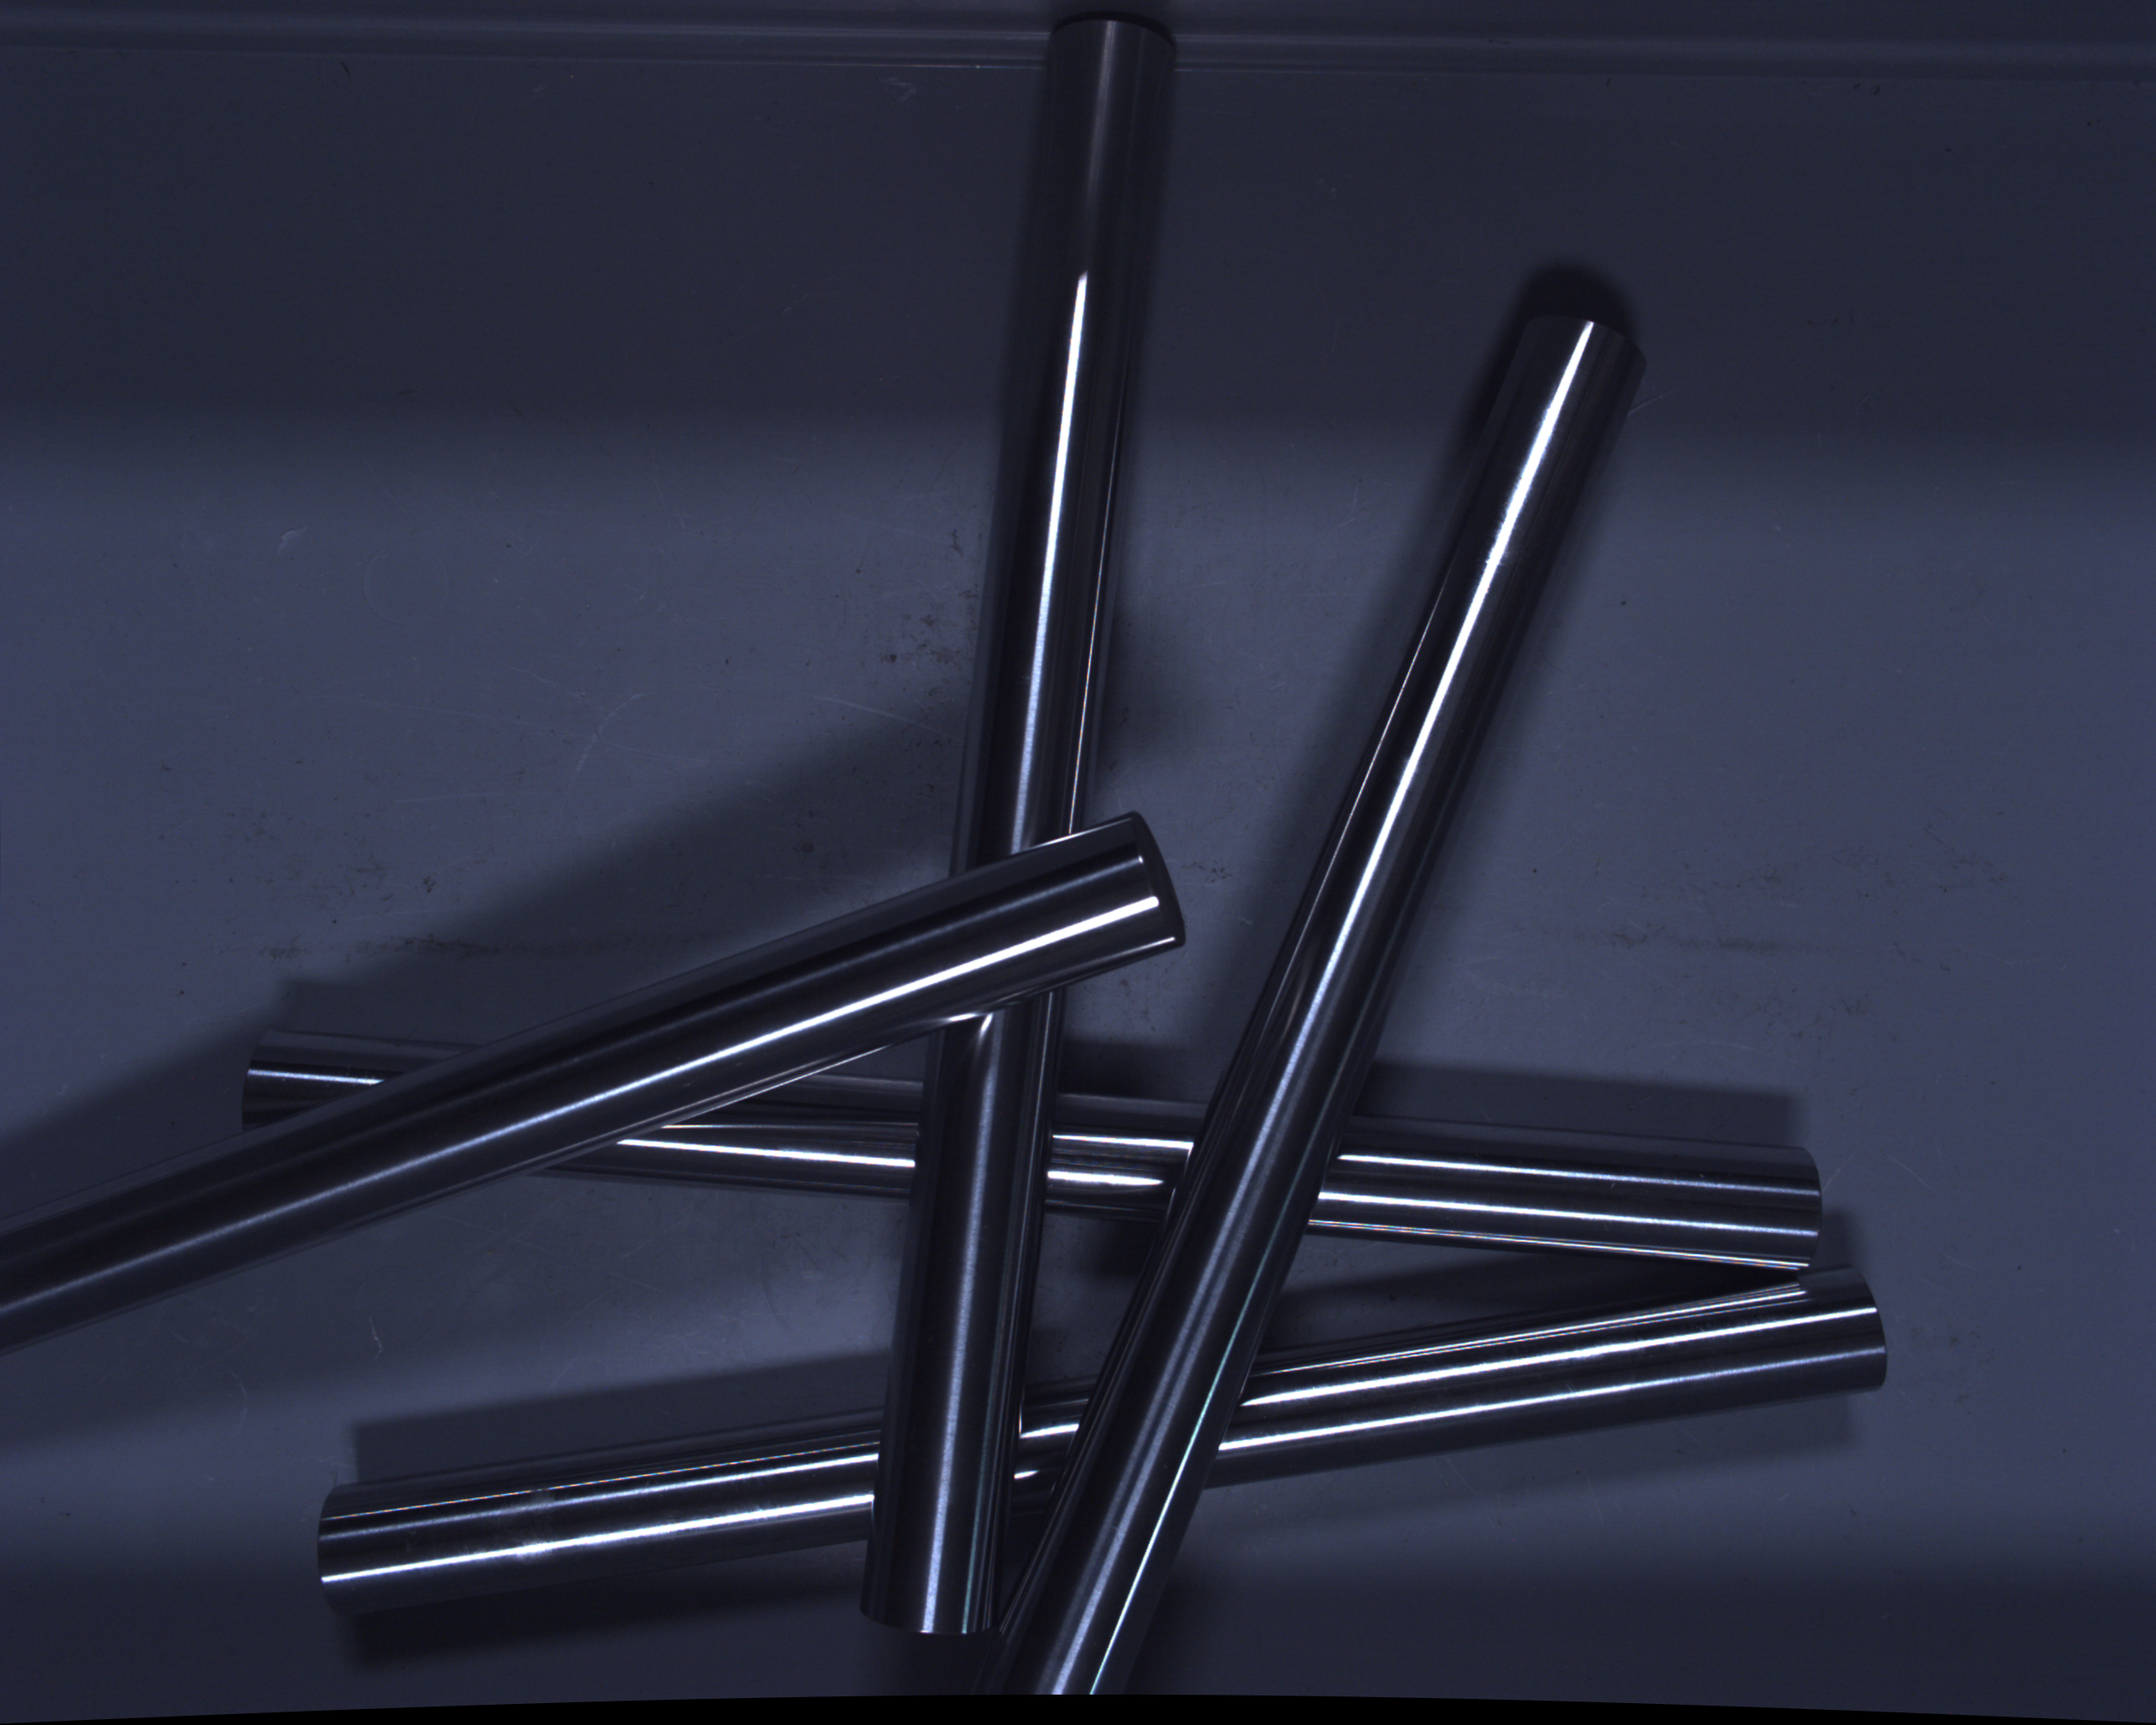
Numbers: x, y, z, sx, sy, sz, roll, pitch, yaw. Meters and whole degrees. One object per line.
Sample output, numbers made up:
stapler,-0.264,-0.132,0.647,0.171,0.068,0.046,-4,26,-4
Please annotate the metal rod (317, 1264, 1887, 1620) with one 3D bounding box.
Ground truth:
metal rod,0.005,0.113,0.410,0.302,0.025,0.025,-8,90,-1

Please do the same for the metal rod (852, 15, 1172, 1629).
metal rod,-0.011,-0.013,0.393,0.025,0.025,0.298,7,84,-1

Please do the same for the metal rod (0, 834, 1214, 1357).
metal rod,-0.122,0.053,0.383,0.301,0.025,0.025,-18,90,5

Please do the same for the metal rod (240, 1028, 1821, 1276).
metal rod,-0.008,0.057,0.410,0.302,0.025,0.025,5,90,-1

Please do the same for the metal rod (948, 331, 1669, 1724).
metal rod,0.043,0.037,0.391,0.025,0.025,0.299,24,82,-1
